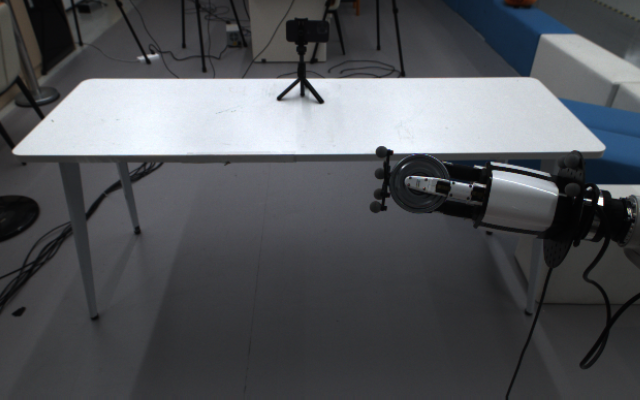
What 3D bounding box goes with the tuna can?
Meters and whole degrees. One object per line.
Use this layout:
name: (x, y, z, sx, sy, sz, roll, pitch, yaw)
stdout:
tuna can: (0.143, -0.026, 0.687, 0.085, 0.085, 0.034, 10, 1, 11)
